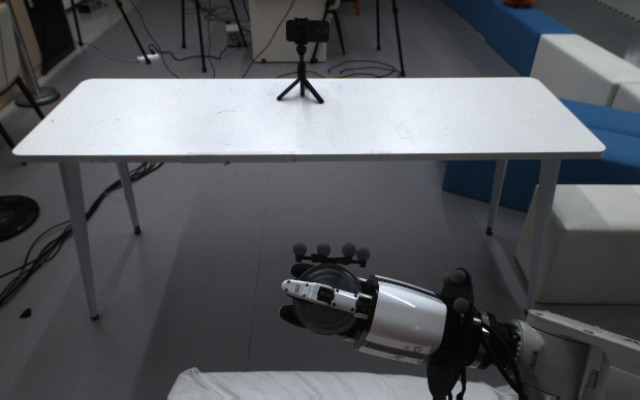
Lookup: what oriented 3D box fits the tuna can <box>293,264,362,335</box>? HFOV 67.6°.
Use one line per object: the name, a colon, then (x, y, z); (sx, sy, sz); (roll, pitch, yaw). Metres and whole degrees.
tuna can: (0.012, 0.125, 0.590); (0.085, 0.034, 0.085); (0, 75, 0)
